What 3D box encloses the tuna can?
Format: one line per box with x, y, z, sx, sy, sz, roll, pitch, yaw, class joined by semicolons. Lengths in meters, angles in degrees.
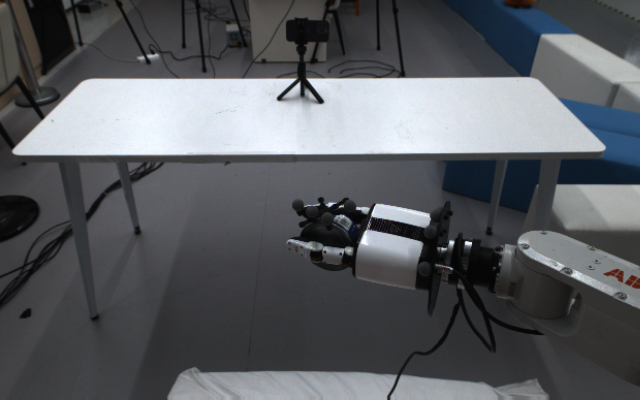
0.018;0.059;0.701;0.085;0.085;0.034;15;34;17;tuna can
